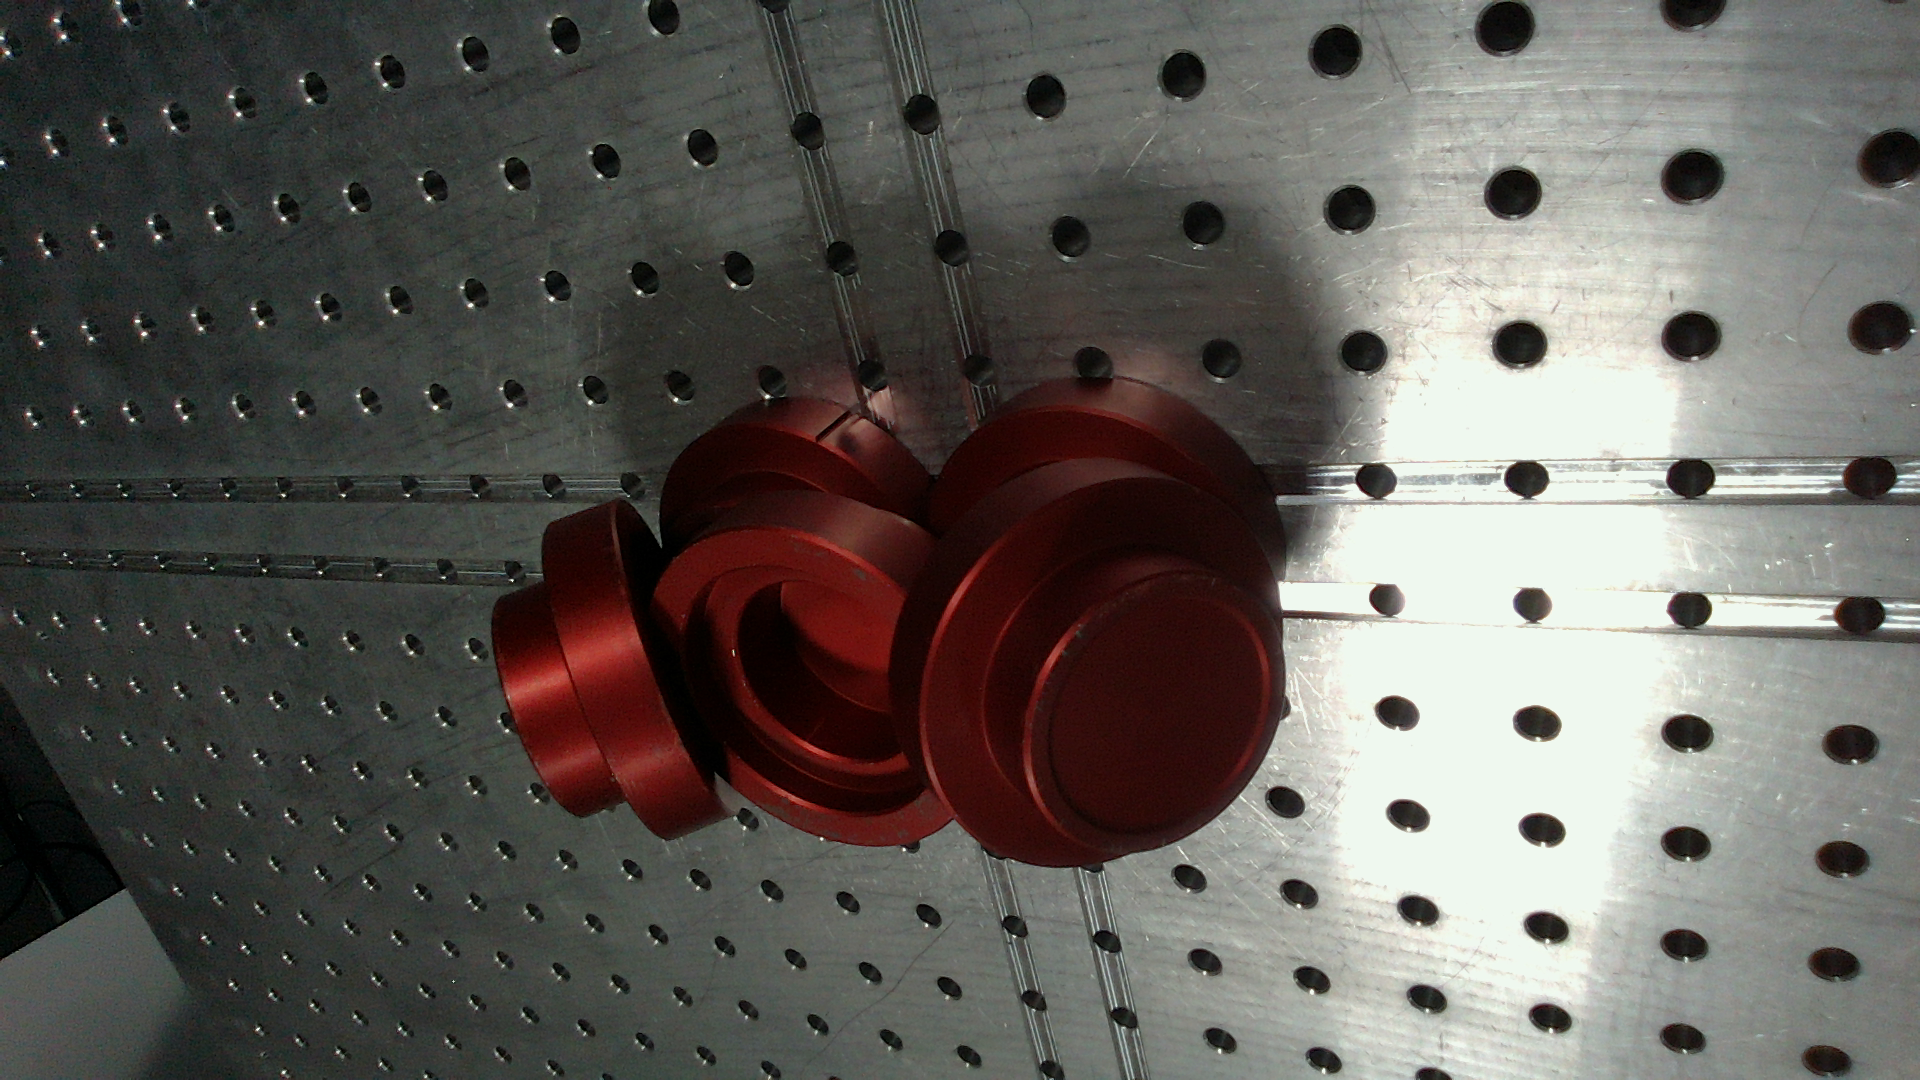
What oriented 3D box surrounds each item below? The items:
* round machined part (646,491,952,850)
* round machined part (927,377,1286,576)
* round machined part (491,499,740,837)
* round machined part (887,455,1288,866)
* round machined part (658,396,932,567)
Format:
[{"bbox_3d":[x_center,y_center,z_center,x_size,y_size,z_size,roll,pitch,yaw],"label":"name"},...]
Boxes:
[{"bbox_3d":[-0.030,0.030,0.364,0.098,0.042,0.098,13,124,21],"label":"round machined part"},{"bbox_3d":[0.035,0.009,0.372,0.098,0.042,0.098,13,124,21],"label":"round machined part"},{"bbox_3d":[-0.101,0.040,0.398,0.042,0.098,0.098,-21,112,-3],"label":"round machined part"},{"bbox_3d":[0.036,0.033,0.320,0.042,0.098,0.098,38,146,59],"label":"round machined part"},{"bbox_3d":[-0.051,0.009,0.418,0.098,0.042,0.098,13,124,21],"label":"round machined part"}]
